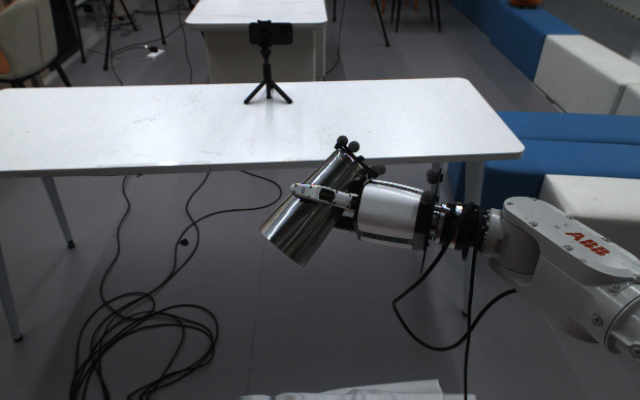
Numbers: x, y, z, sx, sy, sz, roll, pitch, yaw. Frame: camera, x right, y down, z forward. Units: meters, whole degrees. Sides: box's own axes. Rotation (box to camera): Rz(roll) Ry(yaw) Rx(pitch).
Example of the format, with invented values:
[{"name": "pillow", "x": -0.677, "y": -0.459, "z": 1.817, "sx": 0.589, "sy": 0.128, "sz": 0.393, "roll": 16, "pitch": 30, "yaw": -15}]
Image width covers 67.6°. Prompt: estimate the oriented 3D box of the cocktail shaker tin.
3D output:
[{"name": "cocktail shaker tin", "x": -0.004, "y": 0.005, "z": 0.741, "sx": 0.170, "sy": 0.093, "sz": 0.093, "roll": -48, "pitch": 49, "yaw": -2}]
